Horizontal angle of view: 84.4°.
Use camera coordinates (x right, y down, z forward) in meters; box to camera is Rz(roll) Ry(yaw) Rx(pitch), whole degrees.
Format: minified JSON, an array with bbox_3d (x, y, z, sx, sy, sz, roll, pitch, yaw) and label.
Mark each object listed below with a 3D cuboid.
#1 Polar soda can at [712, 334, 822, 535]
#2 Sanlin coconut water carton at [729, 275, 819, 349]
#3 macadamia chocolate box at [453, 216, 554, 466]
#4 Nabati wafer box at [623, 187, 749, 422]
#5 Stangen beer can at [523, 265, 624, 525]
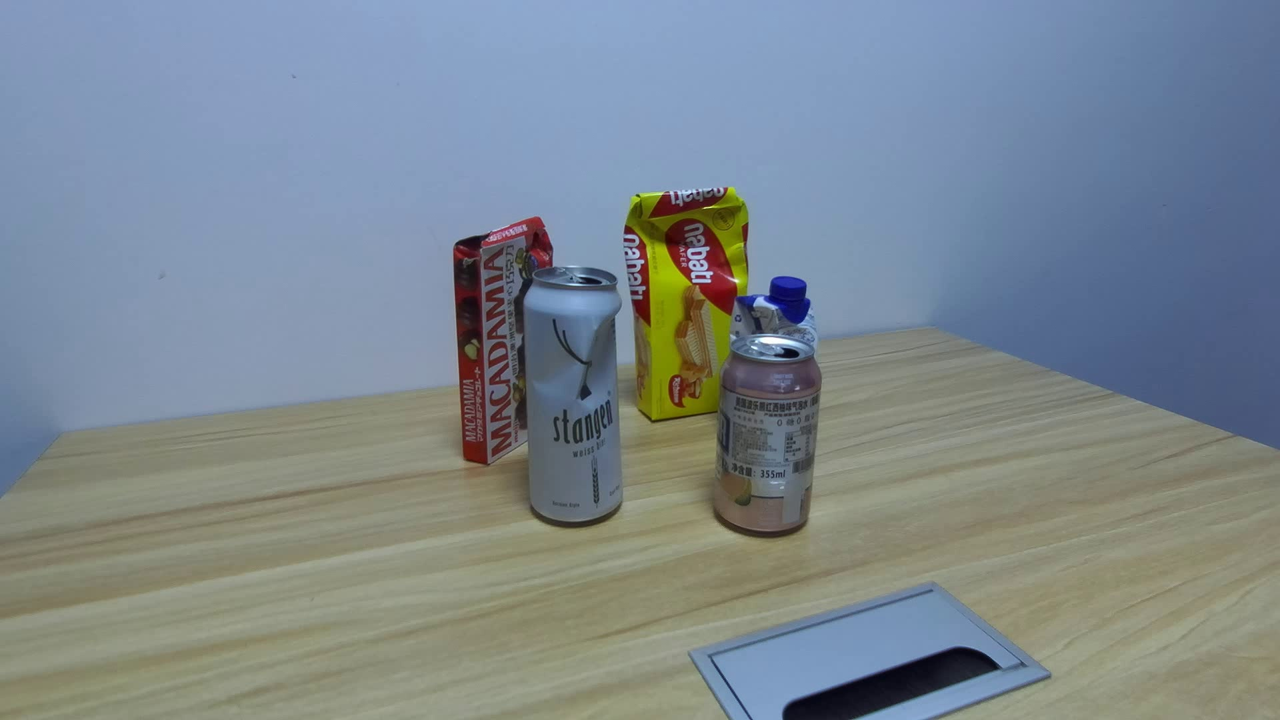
[{"bbox_3d":[0.085,0.049,0.473,0.067,0.125,0.067,0,17,0],"label":"Polar soda can"},{"bbox_3d":[0.109,0.004,0.582,0.057,0.144,0.068,-4,10,-36],"label":"Sanlin coconut water carton"},{"bbox_3d":[-0.106,-0.017,0.578,0.027,0.187,0.103,13,23,25],"label":"macadamia chocolate box"},{"bbox_3d":[0.044,-0.049,0.641,0.113,0.205,0.042,-8,18,-19],"label":"Nabati wafer box"},{"bbox_3d":[-0.042,0.024,0.478,0.070,0.173,0.069,-9,20,-26],"label":"Stangen beer can"}]
